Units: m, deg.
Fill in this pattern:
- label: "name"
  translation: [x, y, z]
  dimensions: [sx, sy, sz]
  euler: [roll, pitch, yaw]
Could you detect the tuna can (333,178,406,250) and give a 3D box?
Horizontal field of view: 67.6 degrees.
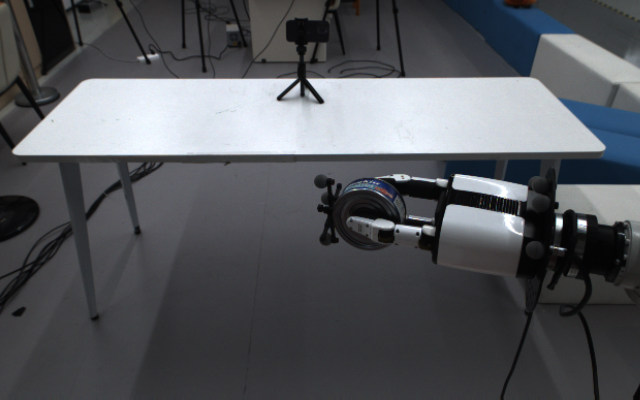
- label: "tuna can"
  translation: [0.063, 0.019, 0.584]
  dimensions: [0.085, 0.085, 0.034]
  euler: [12, 27, 14]
